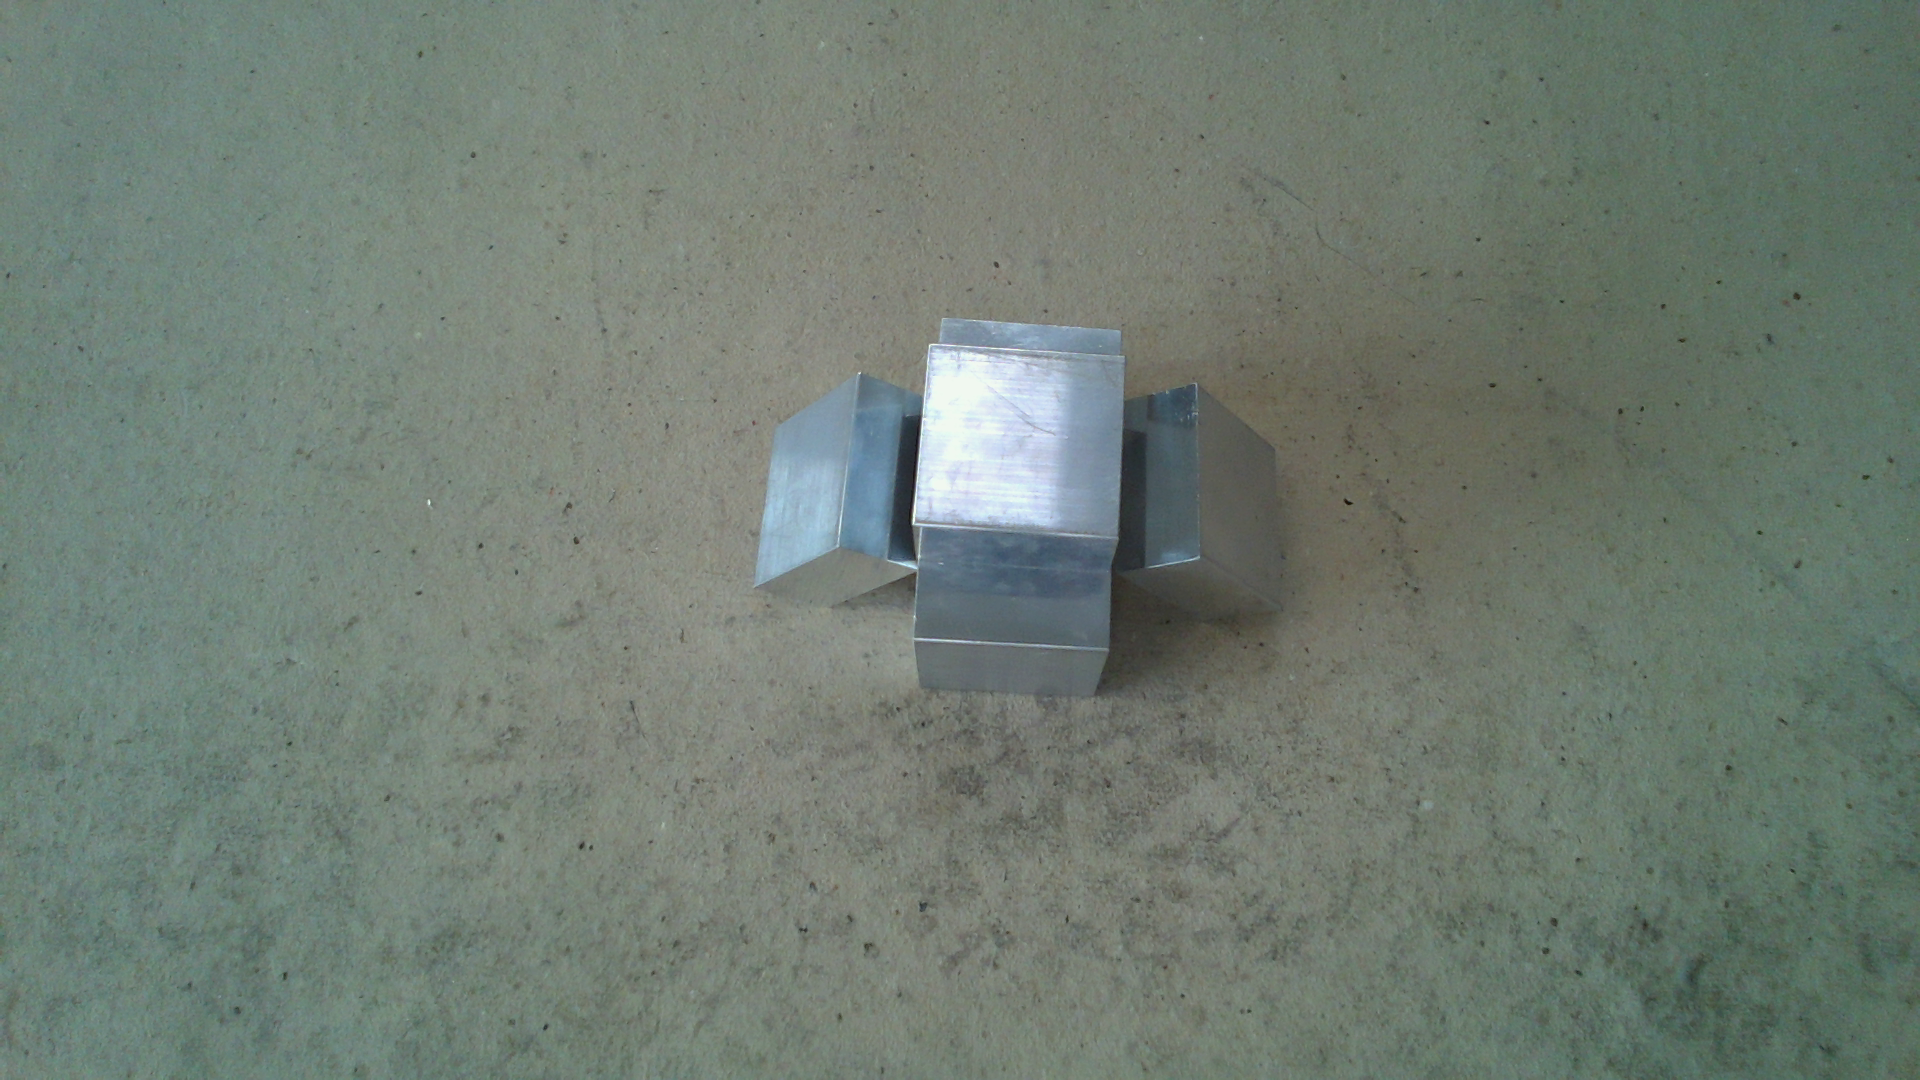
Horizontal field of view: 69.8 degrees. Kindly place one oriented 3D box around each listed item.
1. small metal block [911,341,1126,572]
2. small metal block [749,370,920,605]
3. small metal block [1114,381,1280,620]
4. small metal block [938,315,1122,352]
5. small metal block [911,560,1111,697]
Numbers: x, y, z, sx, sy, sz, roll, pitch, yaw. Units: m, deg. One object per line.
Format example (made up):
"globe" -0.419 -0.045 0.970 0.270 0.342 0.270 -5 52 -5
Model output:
"small metal block" 0.015 -0.021 0.350 0.050 0.025 0.050 4 70 1
"small metal block" -0.033 -0.013 0.384 0.025 0.050 0.050 17 67 -31
"small metal block" 0.066 -0.009 0.383 0.025 0.050 0.050 -12 66 34
"small metal block" 0.019 -0.040 0.396 0.050 0.050 0.025 4 71 2
"small metal block" 0.013 0.023 0.374 0.050 0.050 0.025 3 70 1
